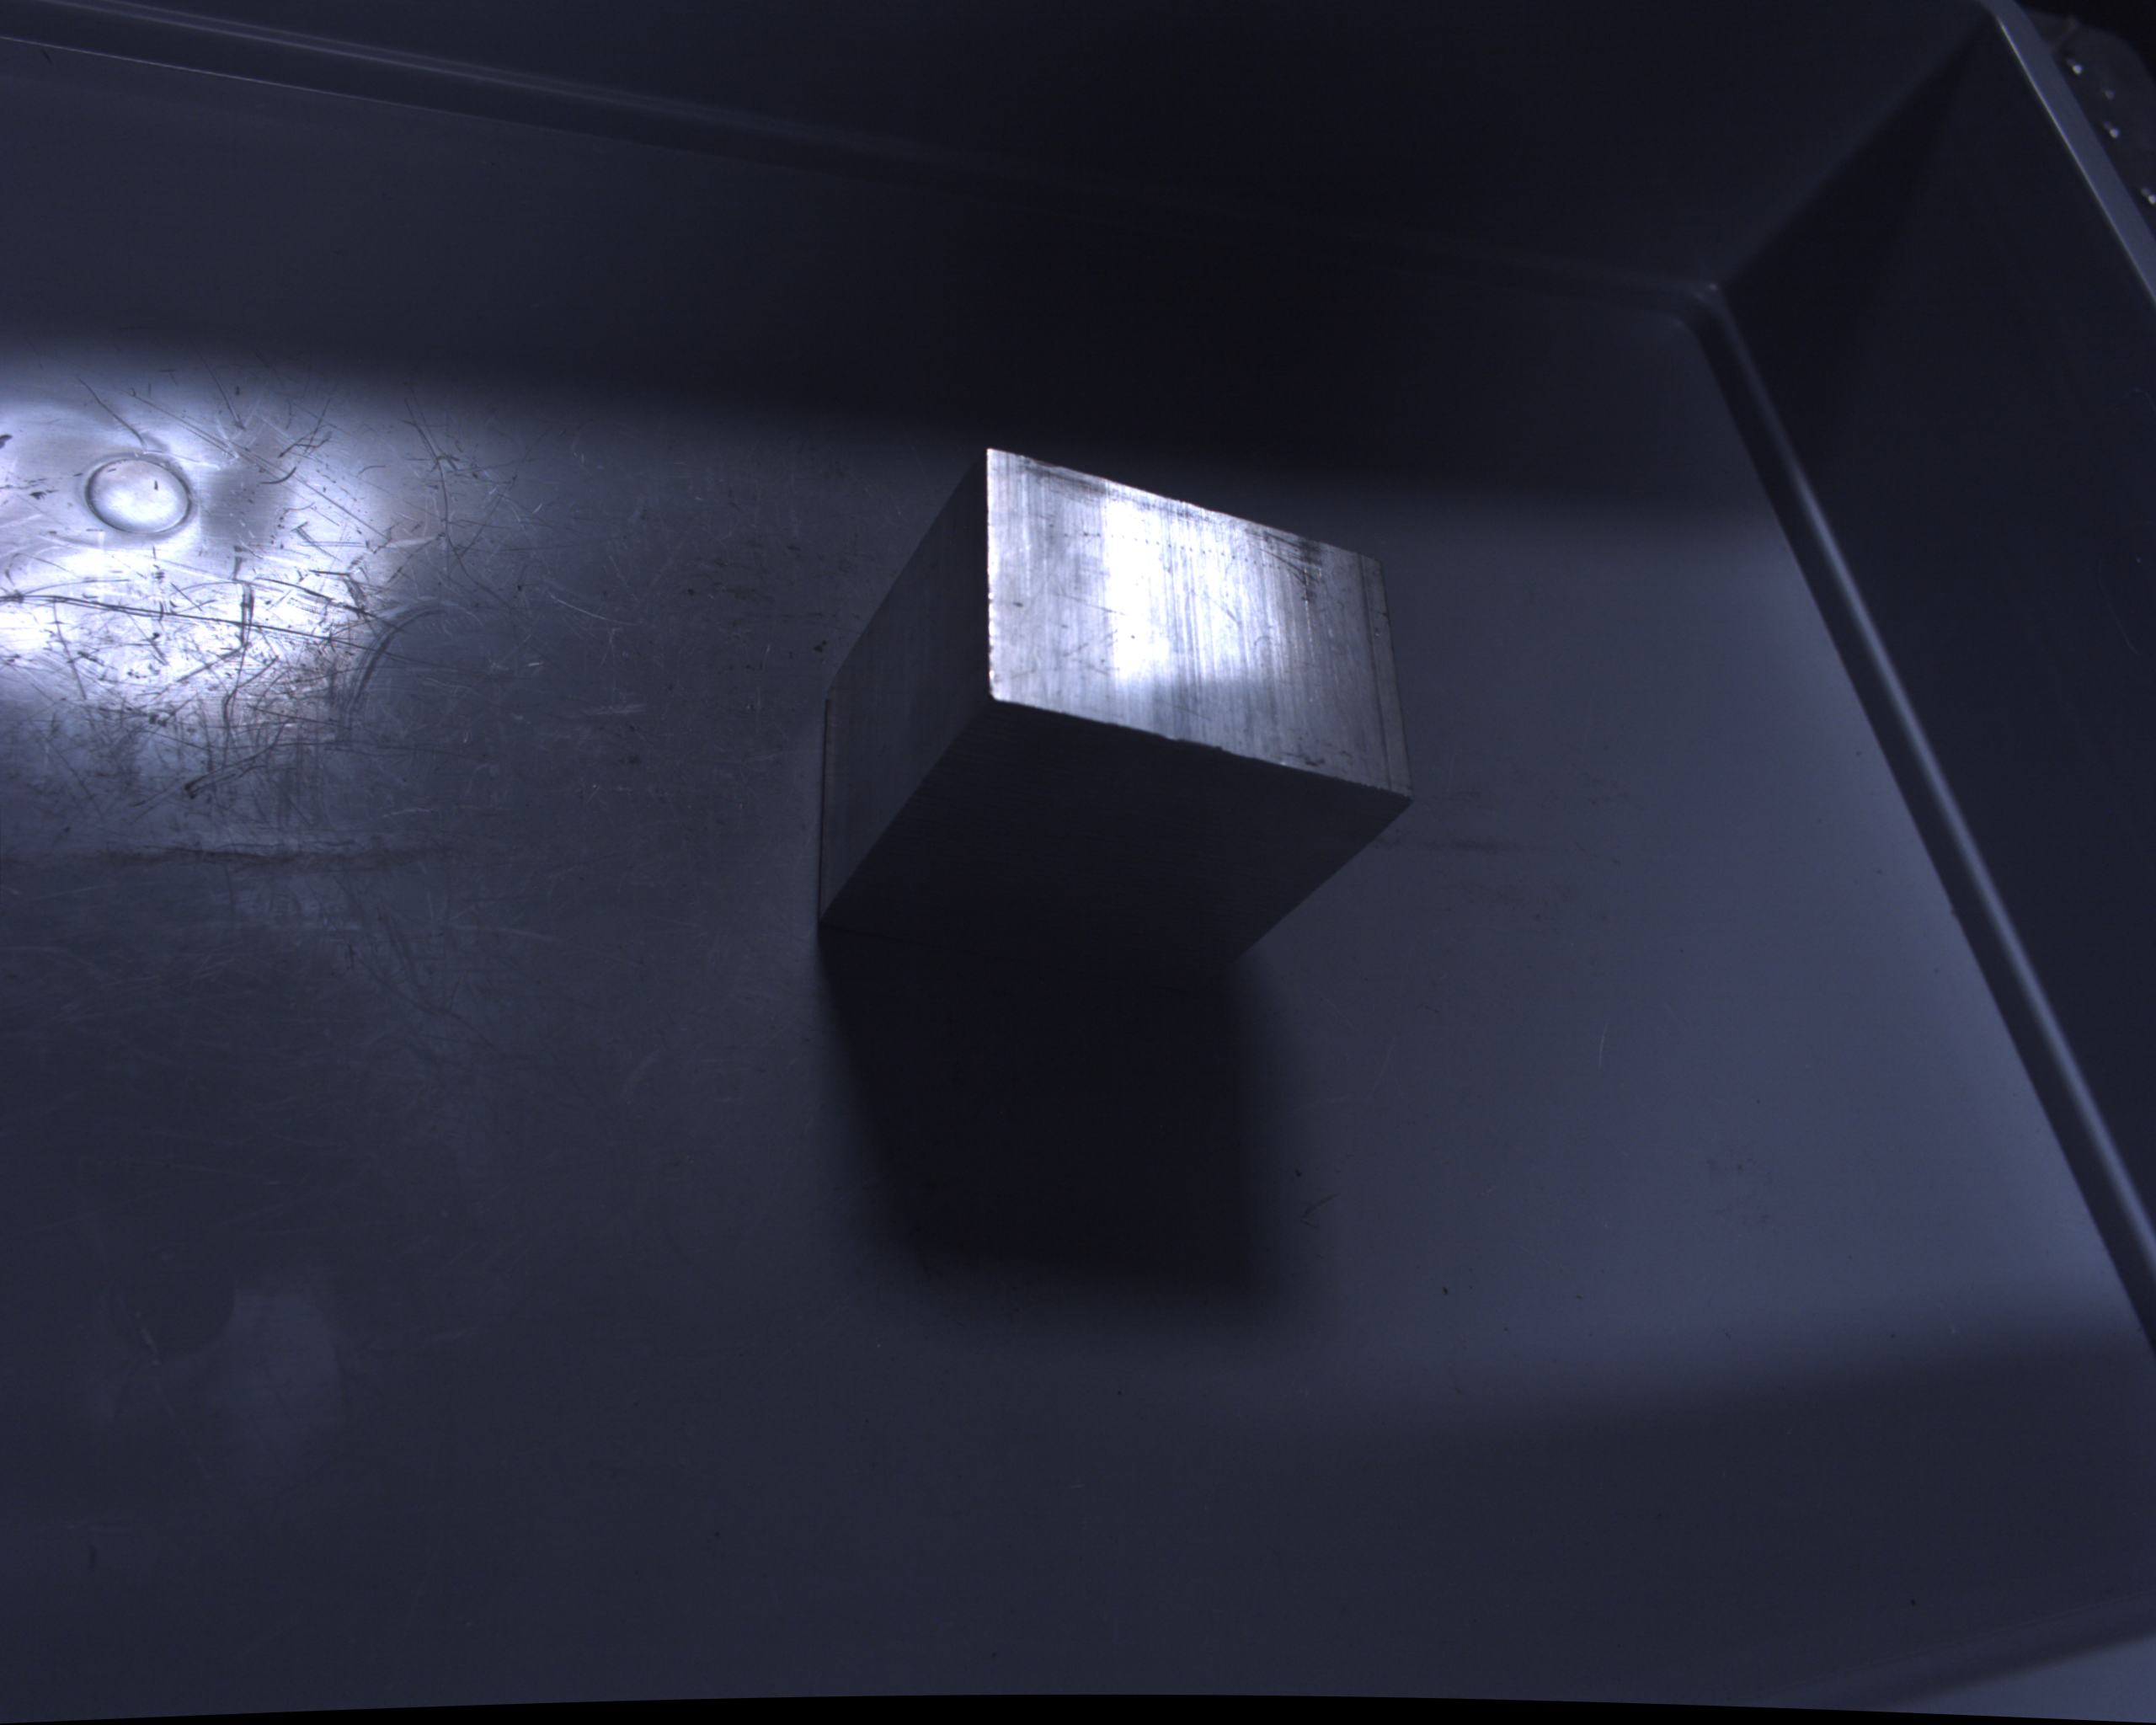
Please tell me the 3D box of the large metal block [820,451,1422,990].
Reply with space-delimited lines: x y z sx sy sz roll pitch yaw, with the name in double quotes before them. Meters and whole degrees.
"large metal block" 0.005 -0.022 0.385 0.081 0.080 0.050 12 57 -22
